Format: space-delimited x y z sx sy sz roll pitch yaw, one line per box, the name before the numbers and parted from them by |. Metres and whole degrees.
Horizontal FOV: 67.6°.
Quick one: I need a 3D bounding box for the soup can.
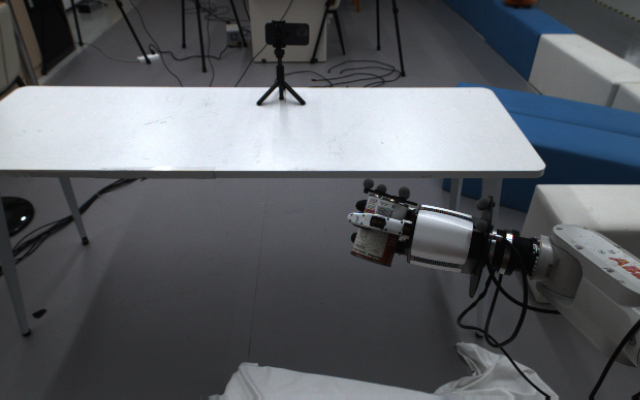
soup can | 0.096 0.048 0.771 0.067 0.101 0.067 17 -1 0
